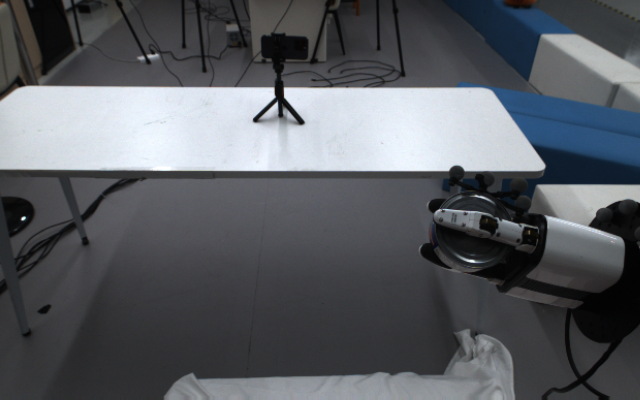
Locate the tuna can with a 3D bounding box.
[{"bbox_3d":[0.168,0.033,0.533,0.085,0.034,0.085,0,71,0],"label":"tuna can"}]
